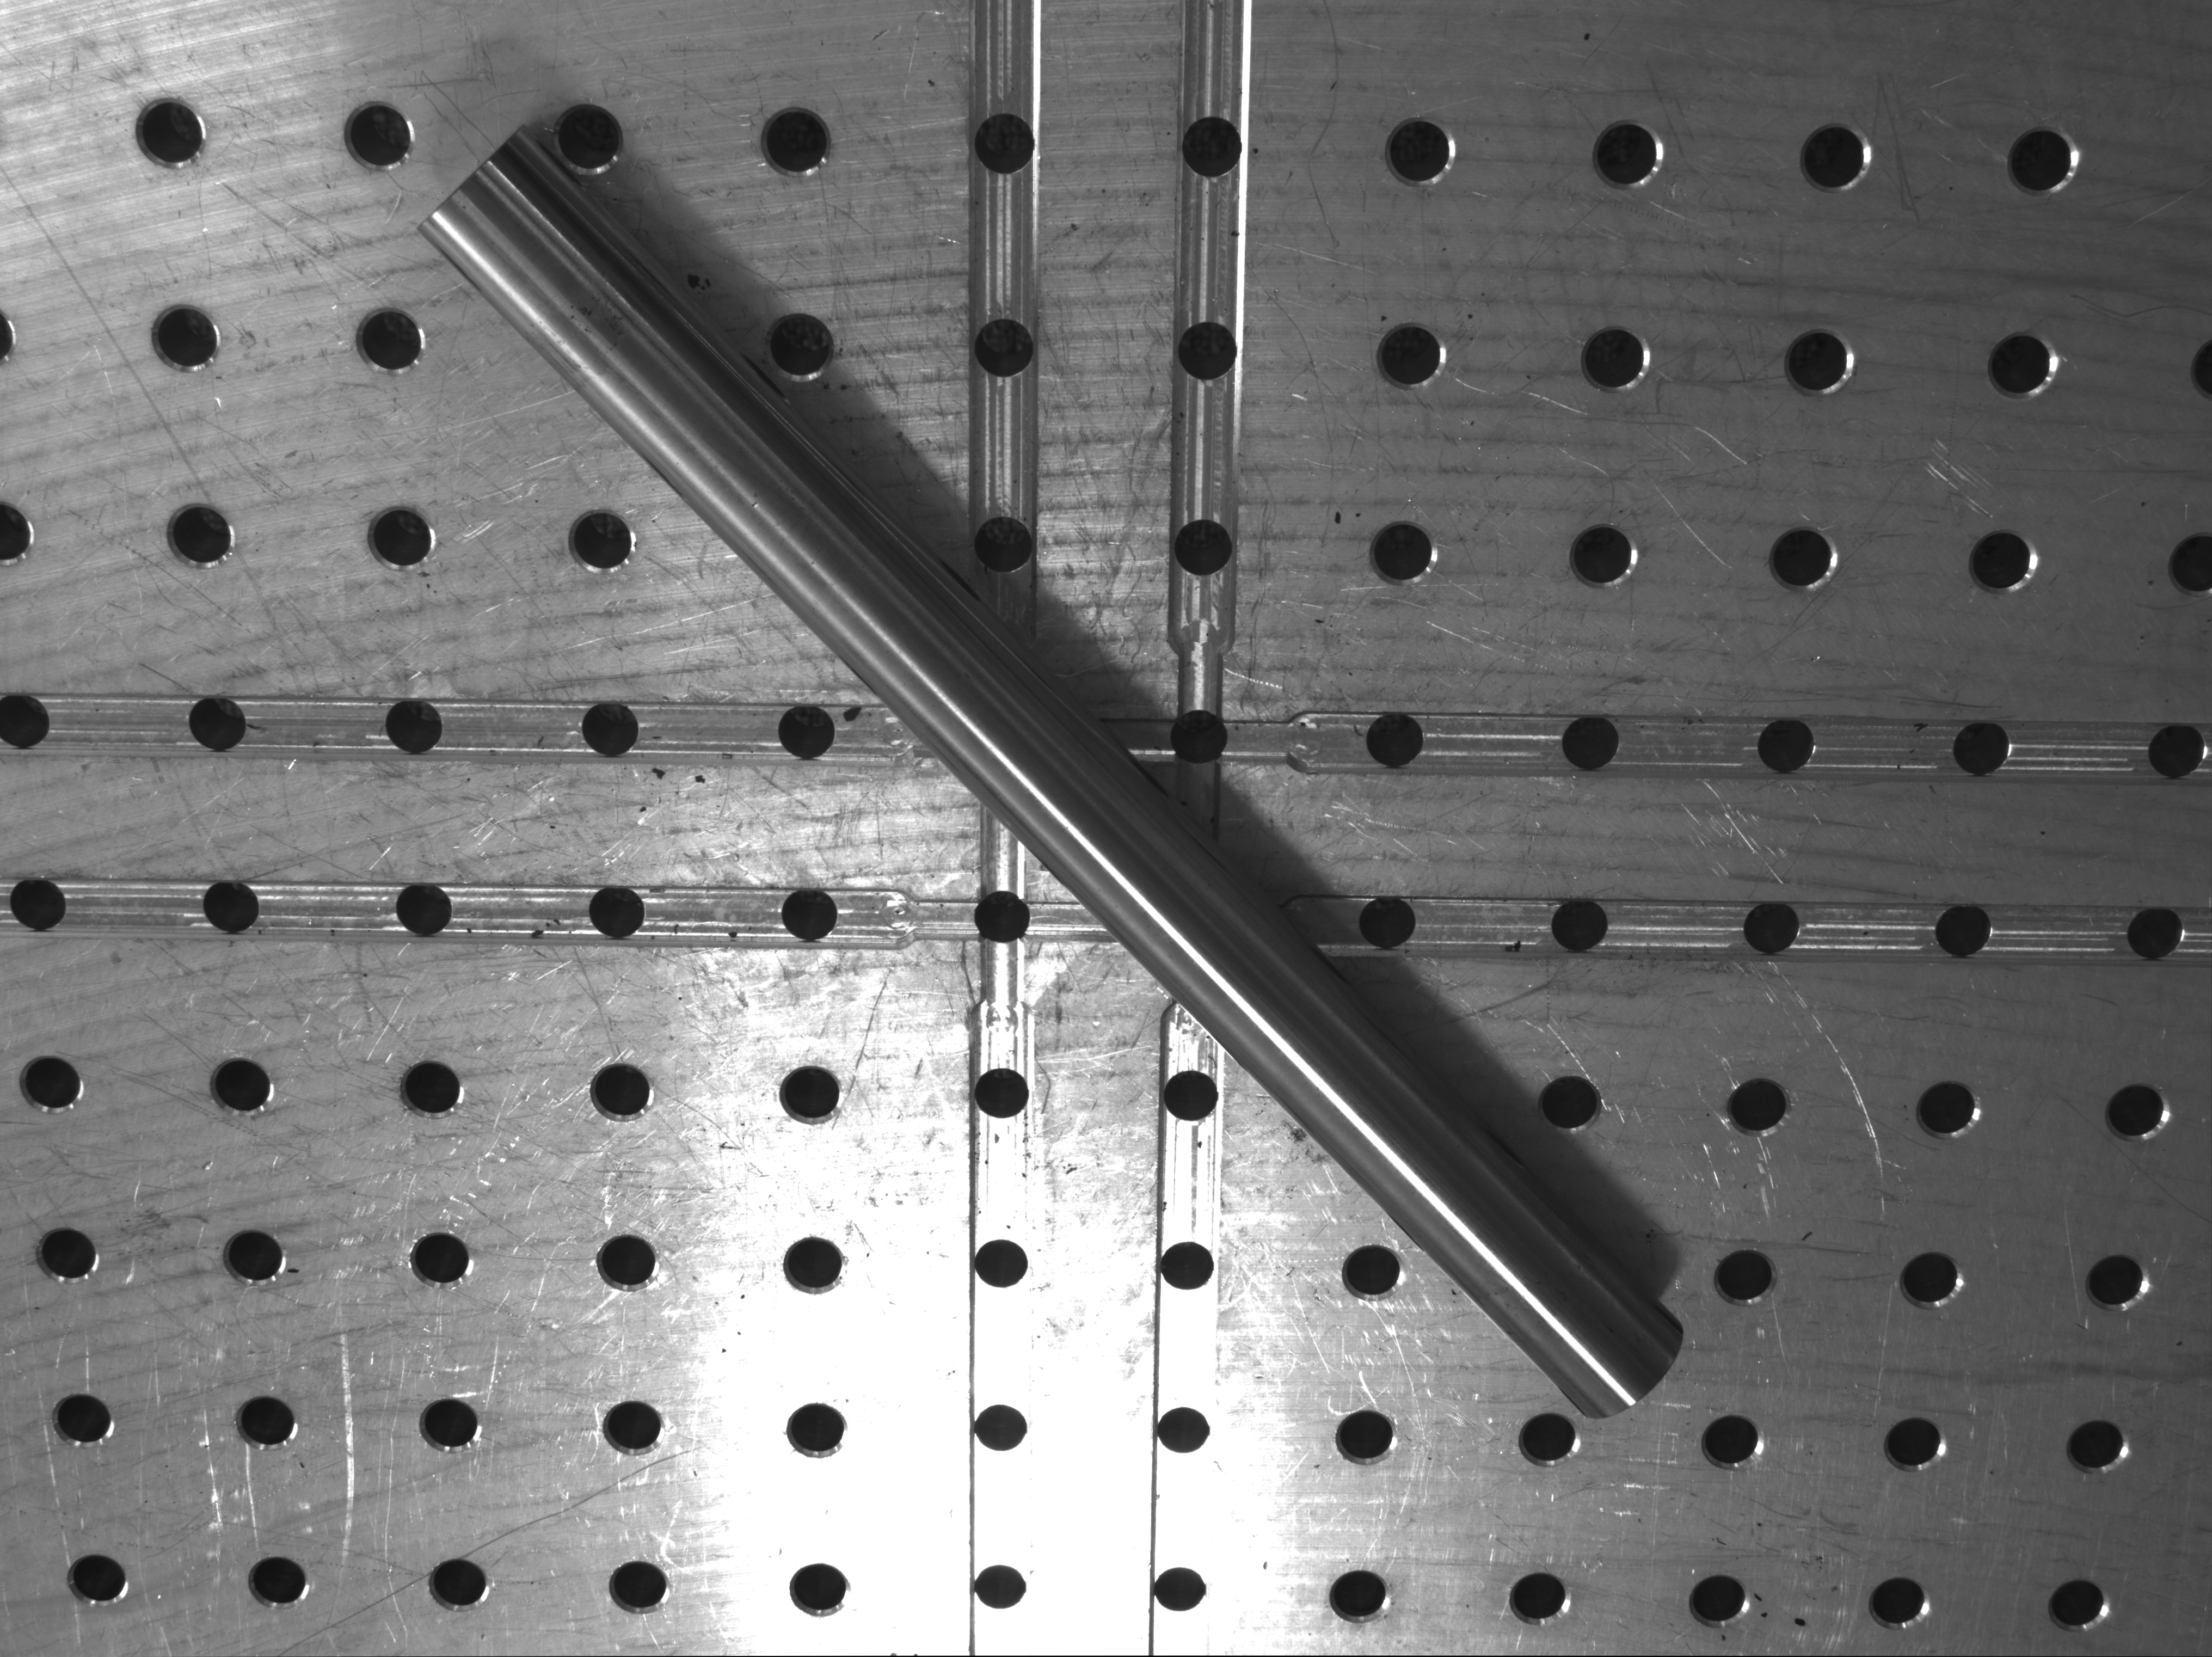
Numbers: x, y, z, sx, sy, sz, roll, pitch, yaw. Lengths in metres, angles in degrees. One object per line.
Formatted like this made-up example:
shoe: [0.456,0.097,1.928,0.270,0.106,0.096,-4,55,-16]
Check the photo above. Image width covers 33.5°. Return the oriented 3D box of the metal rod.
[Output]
metal rod: [-0.005,-0.004,0.645,0.025,0.025,0.300,-41,105,13]
